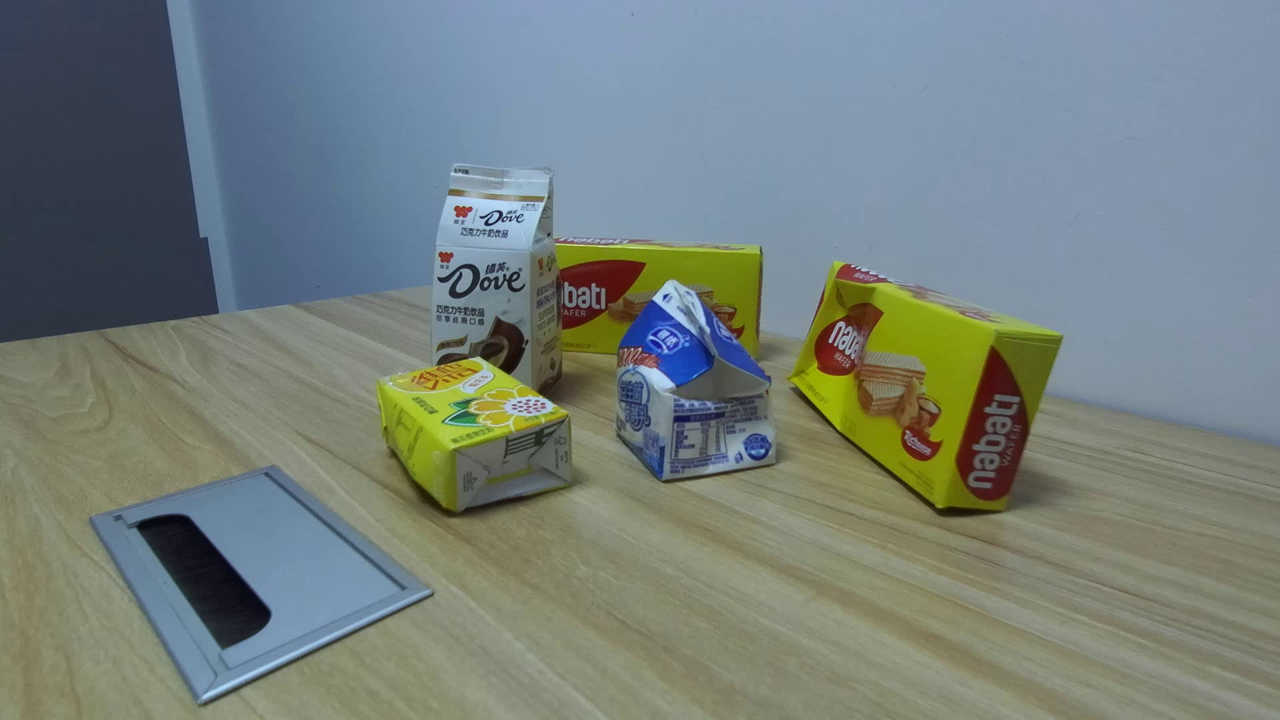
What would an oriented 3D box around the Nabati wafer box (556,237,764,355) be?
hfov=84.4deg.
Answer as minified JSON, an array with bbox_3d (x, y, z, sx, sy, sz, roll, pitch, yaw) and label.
[{"bbox_3d":[0.002,-0.051,0.600,0.202,0.093,0.042,4,12,12],"label":"Nabati wafer box"}]

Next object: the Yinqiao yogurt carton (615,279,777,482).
[{"bbox_3d":[0.030,0.006,0.403,0.077,0.093,0.083,-5,18,-21],"label":"Yinqiao yogurt carton"}]

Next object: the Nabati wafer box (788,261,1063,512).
[{"bbox_3d":[0.151,0.003,0.425,0.042,0.096,0.202,7,16,-14],"label":"Nabati wafer box"}]

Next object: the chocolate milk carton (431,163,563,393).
[{"bbox_3d":[-0.099,-0.053,0.483,0.084,0.155,0.073,4,19,9],"label":"chocolate milk carton"}]

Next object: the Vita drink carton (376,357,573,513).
[{"bbox_3d":[-0.095,0.038,0.380,0.077,0.043,0.108,-15,25,-34],"label":"Vita drink carton"}]
